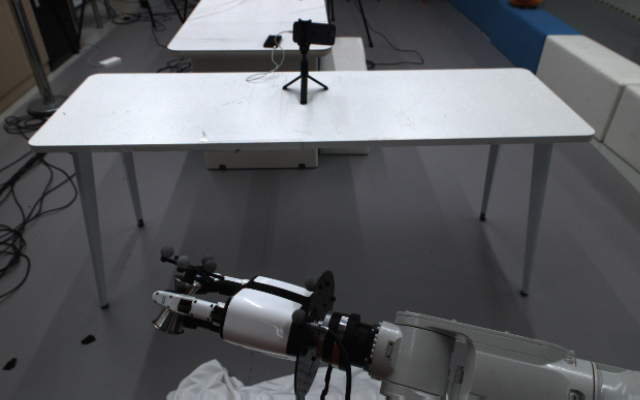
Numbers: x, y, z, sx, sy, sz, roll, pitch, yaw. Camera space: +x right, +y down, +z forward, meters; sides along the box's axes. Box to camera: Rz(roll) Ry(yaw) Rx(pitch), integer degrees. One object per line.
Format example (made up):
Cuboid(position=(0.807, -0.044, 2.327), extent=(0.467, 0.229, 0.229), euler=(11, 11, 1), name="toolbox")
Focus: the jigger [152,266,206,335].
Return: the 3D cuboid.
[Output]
Cuboid(position=(-0.189, 0.137, 0.641), extent=(0.043, 0.071, 0.043), euler=(24, -2, 1), name="jigger")
